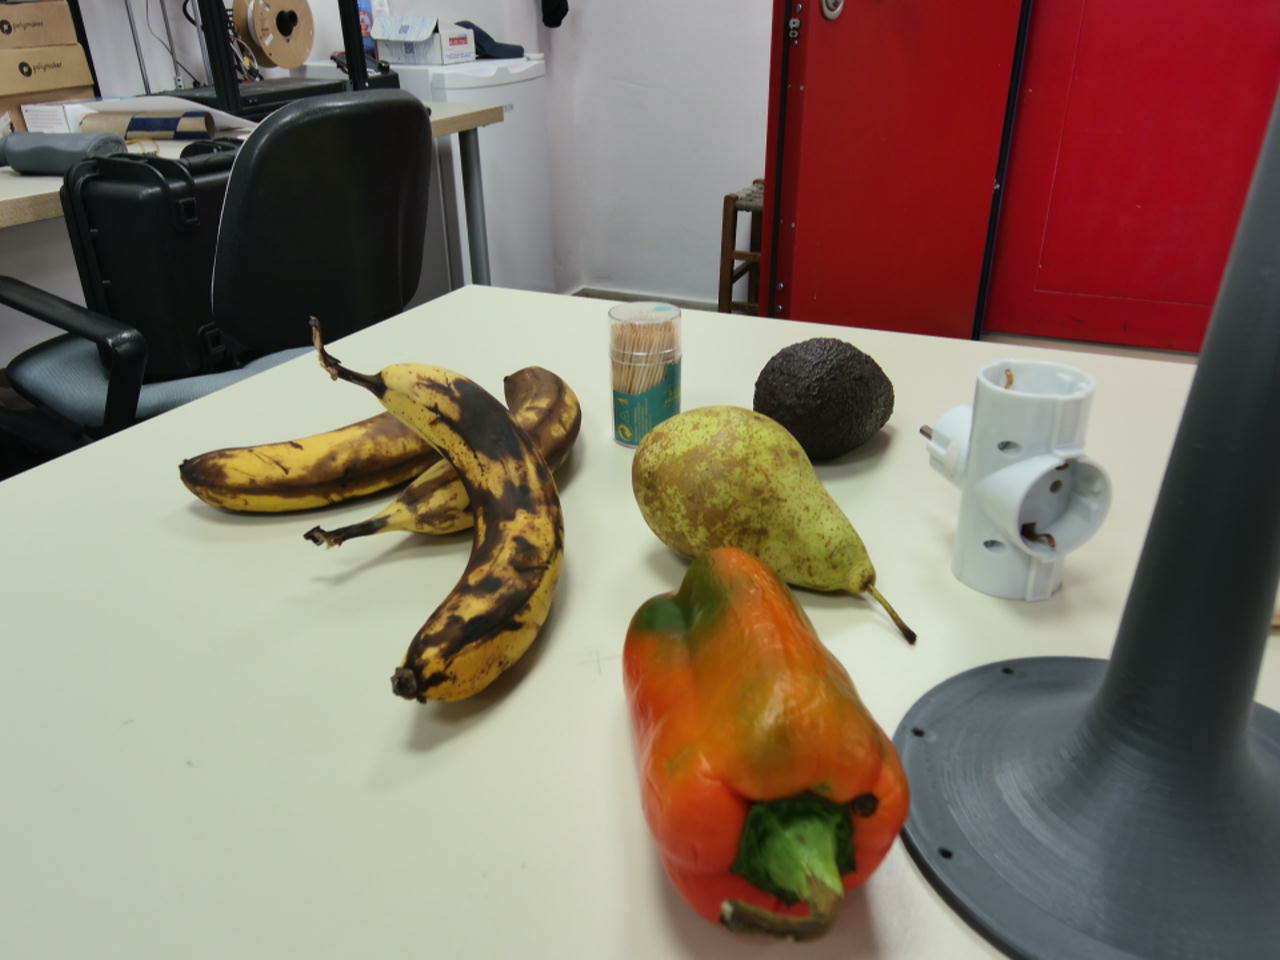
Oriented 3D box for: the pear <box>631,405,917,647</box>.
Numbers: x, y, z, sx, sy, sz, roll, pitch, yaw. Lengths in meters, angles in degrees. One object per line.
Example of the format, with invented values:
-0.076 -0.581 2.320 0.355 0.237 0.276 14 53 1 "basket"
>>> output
0.058 0.009 0.429 0.128 0.075 0.071 8 24 16 "pear"
